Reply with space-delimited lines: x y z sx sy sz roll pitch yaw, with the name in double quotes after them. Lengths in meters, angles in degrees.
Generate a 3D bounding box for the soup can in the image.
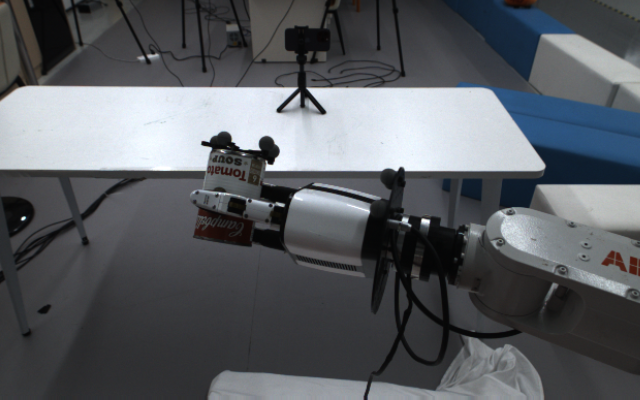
-0.102 -0.001 0.559 0.067 0.101 0.067 9 -5 1 "soup can"
